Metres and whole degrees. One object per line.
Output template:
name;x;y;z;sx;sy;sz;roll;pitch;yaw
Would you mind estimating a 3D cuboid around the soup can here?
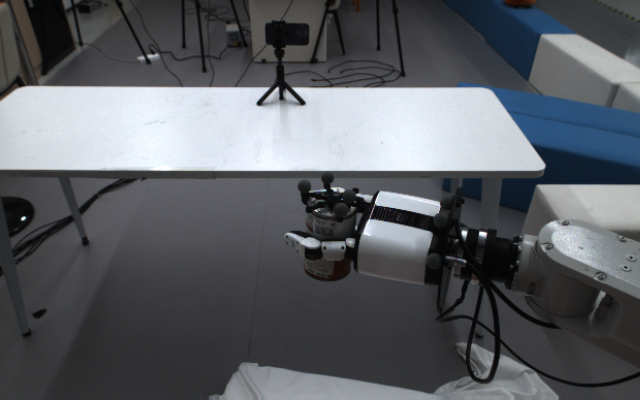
soup can;0.014;0.048;0.643;0.067;0.101;0.067;4;30;-2
